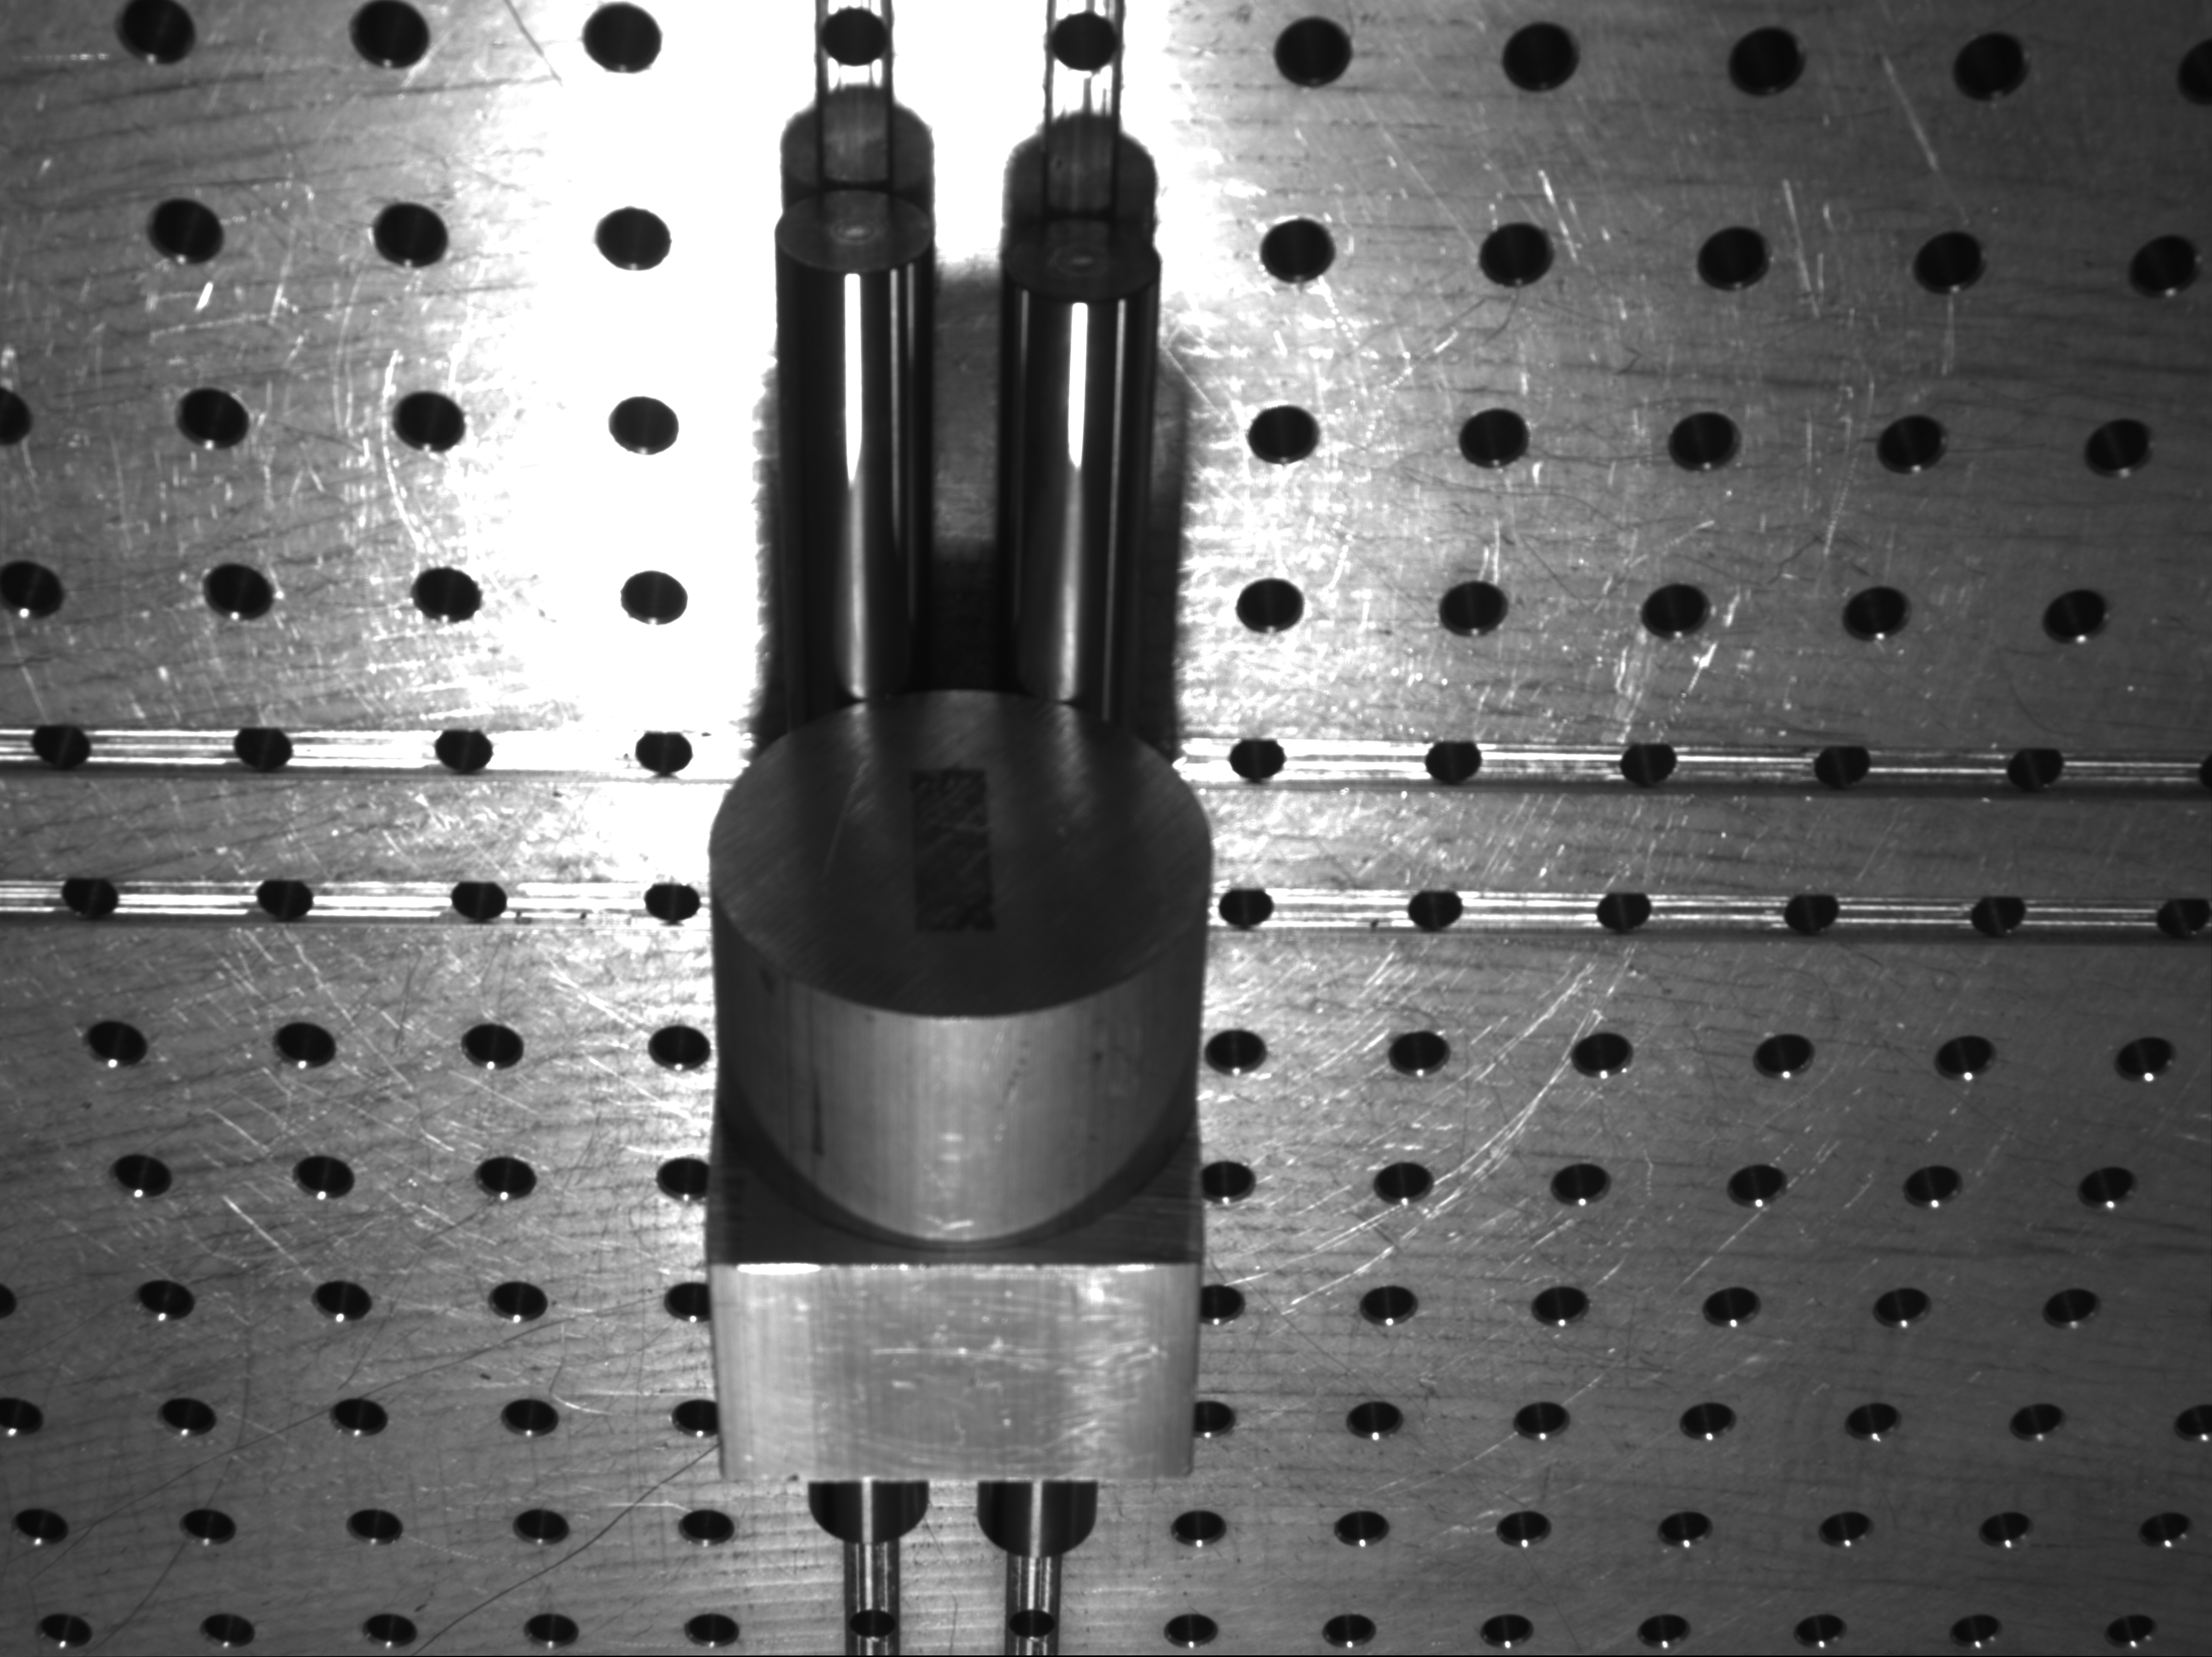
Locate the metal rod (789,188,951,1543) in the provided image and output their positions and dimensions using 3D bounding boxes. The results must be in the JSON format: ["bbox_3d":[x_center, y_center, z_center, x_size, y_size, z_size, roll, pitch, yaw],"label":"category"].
[{"bbox_3d":[-0.041,0.023,0.661,0.025,0.025,0.300,1,130,-2],"label":"metal rod"}]

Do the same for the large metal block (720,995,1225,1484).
[{"bbox_3d":[-0.023,0.065,0.627,0.080,0.080,0.050,0,130,-2],"label":"large metal block"}]

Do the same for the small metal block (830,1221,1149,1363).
[{"bbox_3d":[-0.024,0.083,0.664,0.050,0.050,0.025,-33,141,-35],"label":"small metal block"}]

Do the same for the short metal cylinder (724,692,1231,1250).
[{"bbox_3d":[-0.021,0.022,0.596,0.080,0.080,0.050,1,130,-2],"label":"short metal cylinder"}]

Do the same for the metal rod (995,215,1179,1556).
[{"bbox_3d":[-0.006,0.026,0.665,0.025,0.025,0.300,1,130,-2],"label":"metal rod"}]
